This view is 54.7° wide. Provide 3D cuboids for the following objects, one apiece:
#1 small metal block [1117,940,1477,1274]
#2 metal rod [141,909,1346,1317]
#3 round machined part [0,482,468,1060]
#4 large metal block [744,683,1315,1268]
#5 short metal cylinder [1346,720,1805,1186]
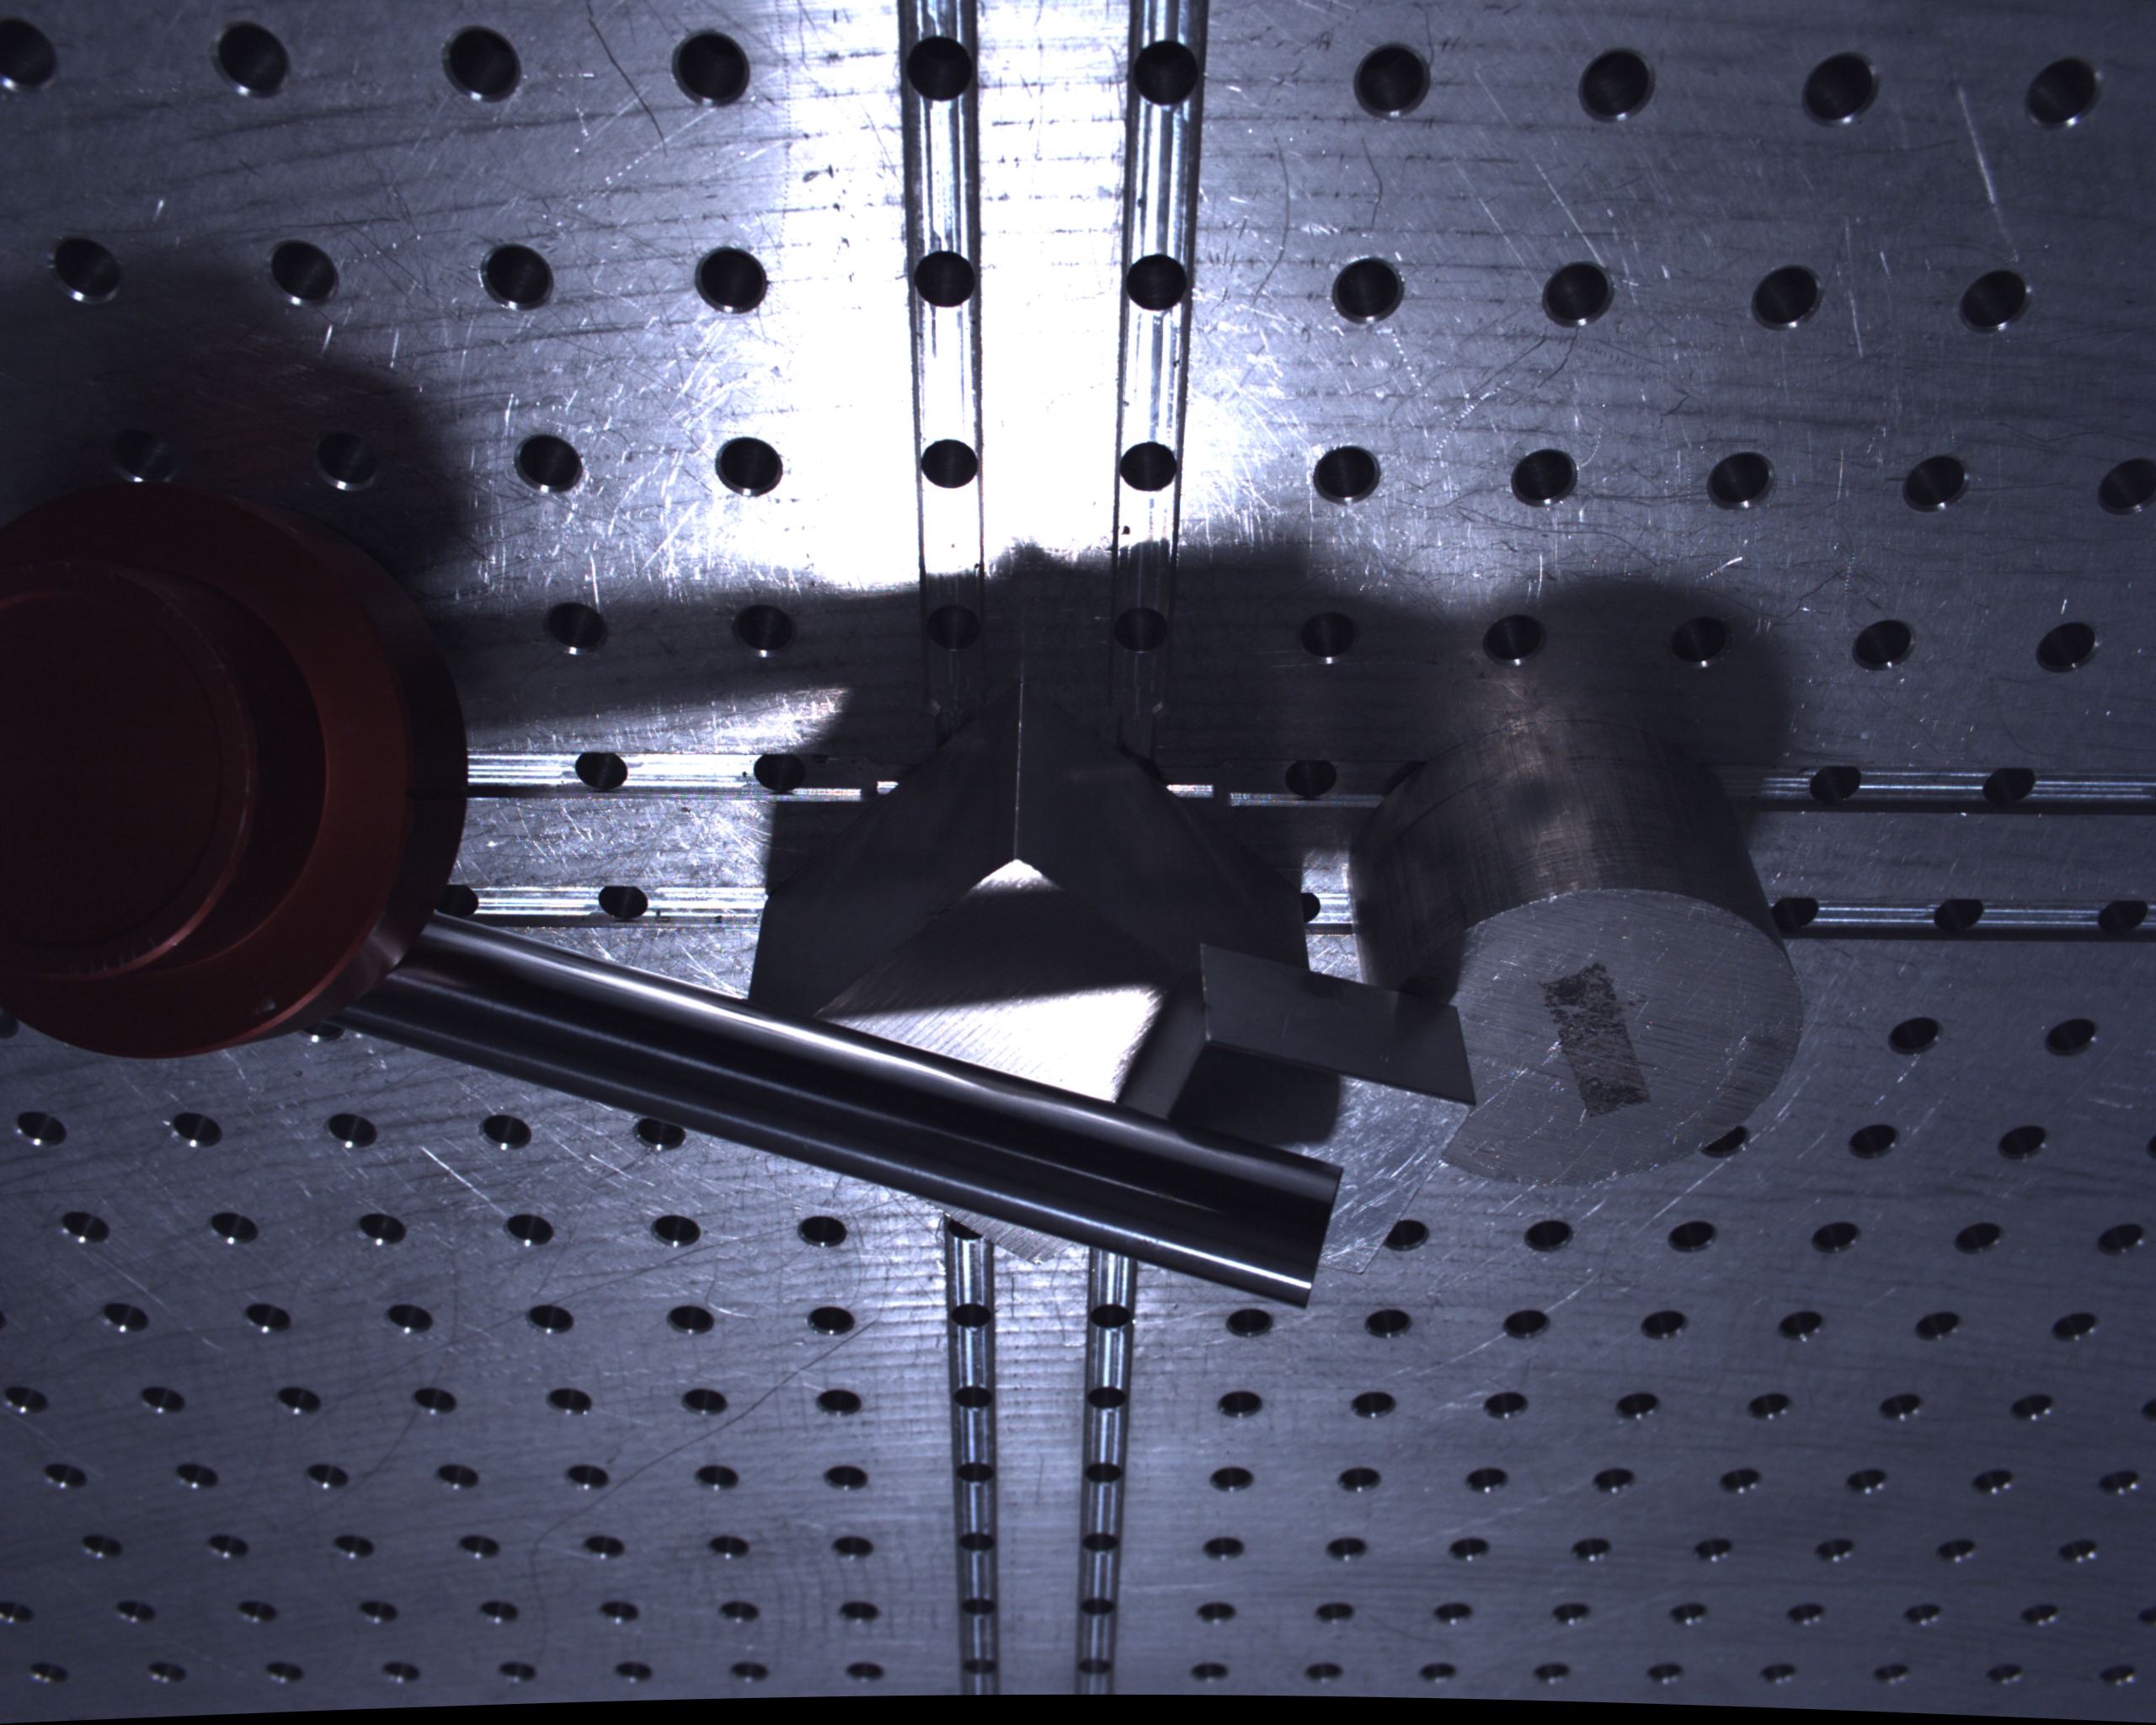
[{"bbox_3d":[0.038,0.046,0.383,0.050,0.025,0.050,14,129,-13],"label":"small metal block"},{"bbox_3d":[-0.102,0.026,0.375,0.301,0.025,0.025,15,131,9],"label":"metal rod"},{"bbox_3d":[-0.158,-0.015,0.350,0.098,0.042,0.097,0,92,10],"label":"round machined part"},{"bbox_3d":[-0.009,0.025,0.413,0.080,0.050,0.080,36,121,-27],"label":"large metal block"},{"bbox_3d":[0.096,0.019,0.412,0.081,0.050,0.079,0,130,0],"label":"short metal cylinder"}]
